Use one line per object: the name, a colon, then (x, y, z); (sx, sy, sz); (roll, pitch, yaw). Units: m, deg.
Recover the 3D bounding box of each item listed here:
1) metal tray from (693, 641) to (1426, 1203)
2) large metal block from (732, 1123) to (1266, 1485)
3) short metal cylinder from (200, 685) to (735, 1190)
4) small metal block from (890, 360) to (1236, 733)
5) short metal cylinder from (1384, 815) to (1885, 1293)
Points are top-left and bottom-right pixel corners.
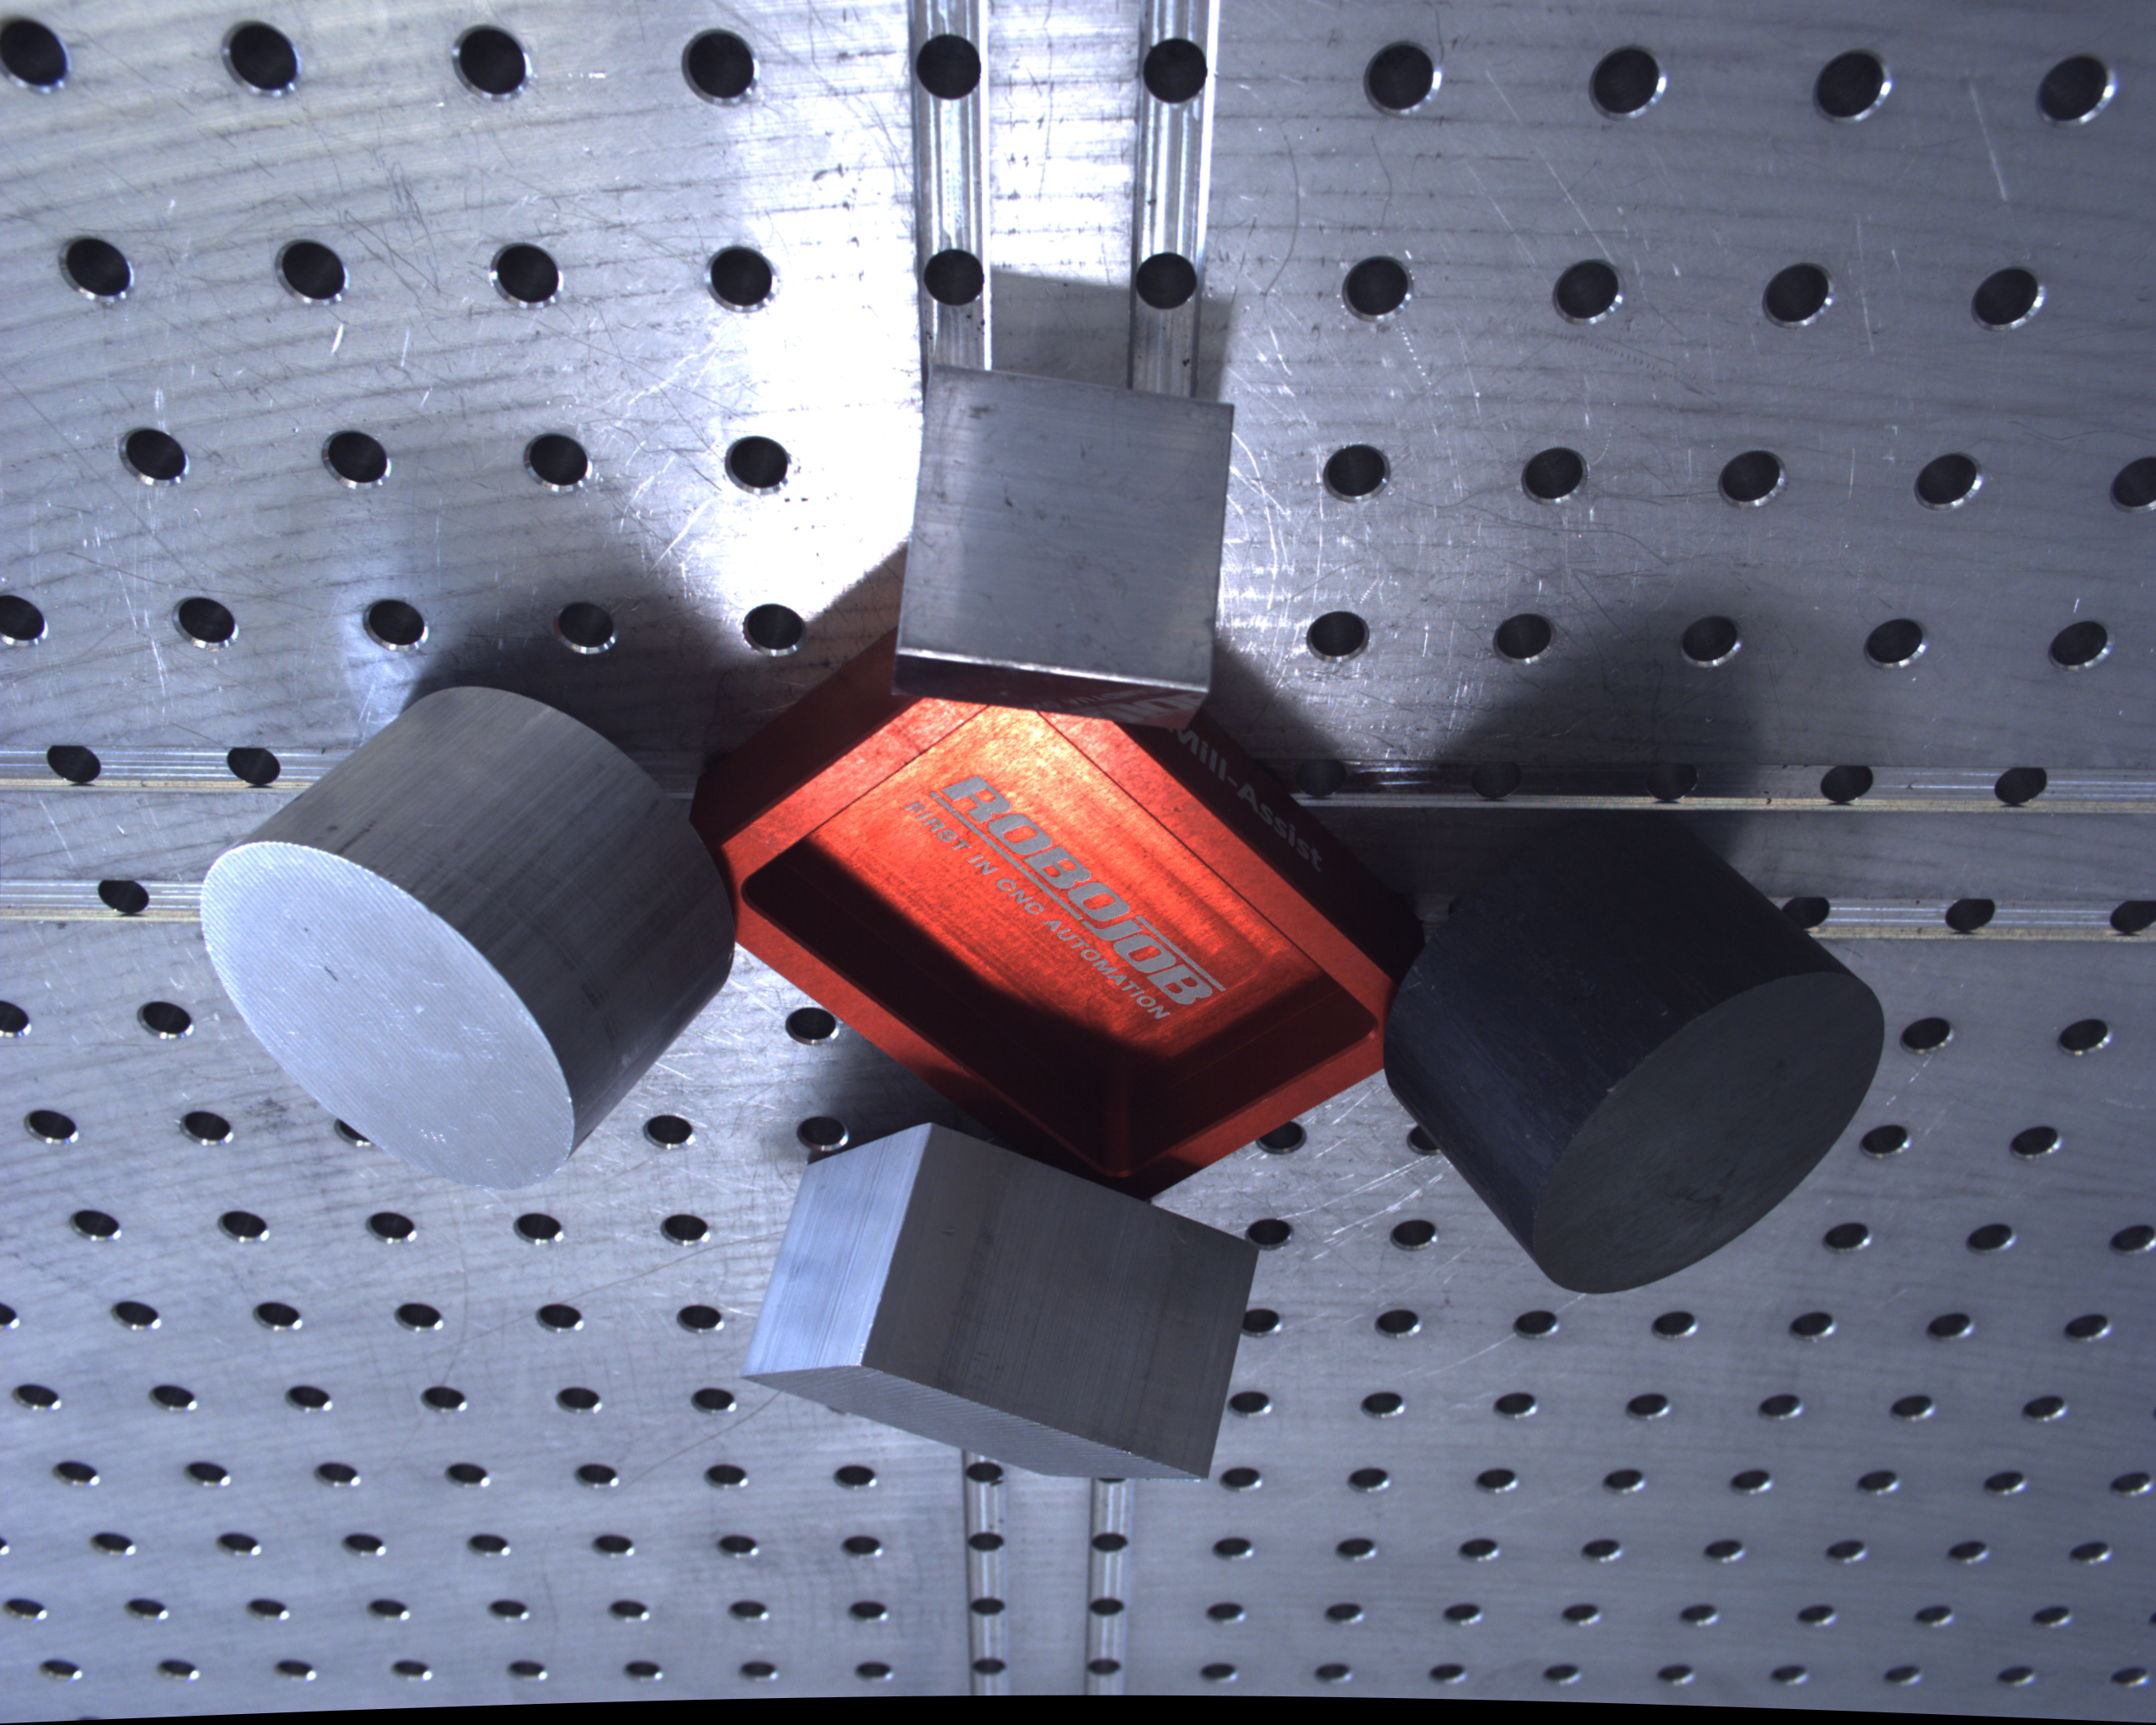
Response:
metal tray: (-0.001, 0.010, 0.415); (0.090, 0.030, 0.130); (-34, 123, 25)
large metal block: (-0.019, 0.099, 0.456); (0.080, 0.050, 0.080); (24, 157, -20)
short metal cylinder: (-0.112, 0.014, 0.386); (0.080, 0.050, 0.079); (17, 134, 19)
small metal block: (-0.003, -0.052, 0.347); (0.050, 0.050, 0.025); (7, 168, -6)
short metal cylinder: (0.108, 0.038, 0.408); (0.081, 0.050, 0.079); (-18, 134, -20)
